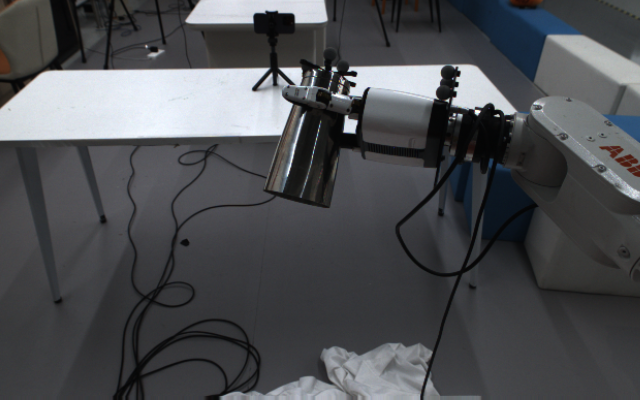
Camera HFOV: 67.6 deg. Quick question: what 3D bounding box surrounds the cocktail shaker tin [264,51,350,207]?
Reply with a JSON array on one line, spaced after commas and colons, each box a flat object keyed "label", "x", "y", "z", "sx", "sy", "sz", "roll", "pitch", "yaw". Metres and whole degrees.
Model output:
[{"label": "cocktail shaker tin", "x": -0.010, "y": -0.085, "z": 0.653, "sx": 0.093, "sy": 0.170, "sz": 0.093, "roll": 15, "pitch": -5, "yaw": 1}]
